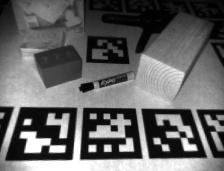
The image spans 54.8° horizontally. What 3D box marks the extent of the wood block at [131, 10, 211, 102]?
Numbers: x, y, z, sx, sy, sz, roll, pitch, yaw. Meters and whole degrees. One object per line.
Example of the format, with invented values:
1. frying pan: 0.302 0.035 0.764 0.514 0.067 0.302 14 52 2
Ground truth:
1. wood block: 0.133 -0.076 0.477 0.089 0.091 0.207 27 52 18

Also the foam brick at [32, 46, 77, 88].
1. foam brick: -0.118 -0.041 0.441 0.078 0.051 0.052 -20 58 -20

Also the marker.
1. marker: -0.028 -0.007 0.444 0.122 0.020 0.019 -16 57 -18

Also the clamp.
1. clamp: 0.087 -0.180 0.582 0.204 0.037 0.163 -26 60 -23

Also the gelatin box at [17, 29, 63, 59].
1. gelatin box: -0.162 -0.097 0.497 0.089 0.030 0.073 0 54 -6

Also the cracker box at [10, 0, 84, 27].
1. cracker box: -0.146 -0.237 0.482 0.165 0.214 0.071 -2 51 -9
